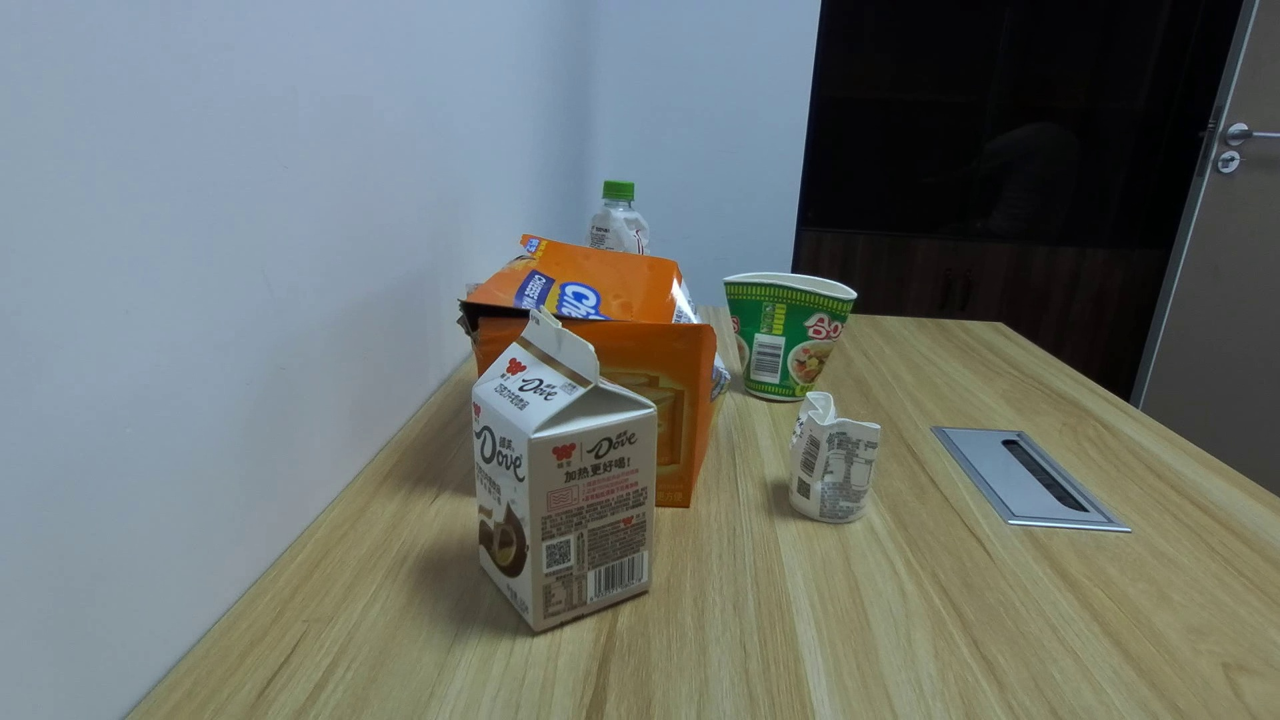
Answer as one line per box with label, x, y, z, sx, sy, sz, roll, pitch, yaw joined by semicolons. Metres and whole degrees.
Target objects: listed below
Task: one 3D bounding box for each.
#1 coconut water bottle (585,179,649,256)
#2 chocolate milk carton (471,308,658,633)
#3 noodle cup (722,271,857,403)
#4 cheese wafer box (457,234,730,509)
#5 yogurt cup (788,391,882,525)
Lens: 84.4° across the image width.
coconut water bottle;-0.019;-0.088;0.720;0.067;0.187;0.067;-1;13;1
chocolate milk carton;-0.040;0.051;0.372;0.074;0.148;0.075;-11;22;-32
noodle cup;0.138;-0.023;0.670;0.070;0.111;0.114;-17;28;-40
cheese wafer box;-0.022;-0.006;0.551;0.191;0.145;0.219;2;18;-1
yogurt cup;0.128;0.065;0.472;0.055;0.072;0.055;3;20;8
